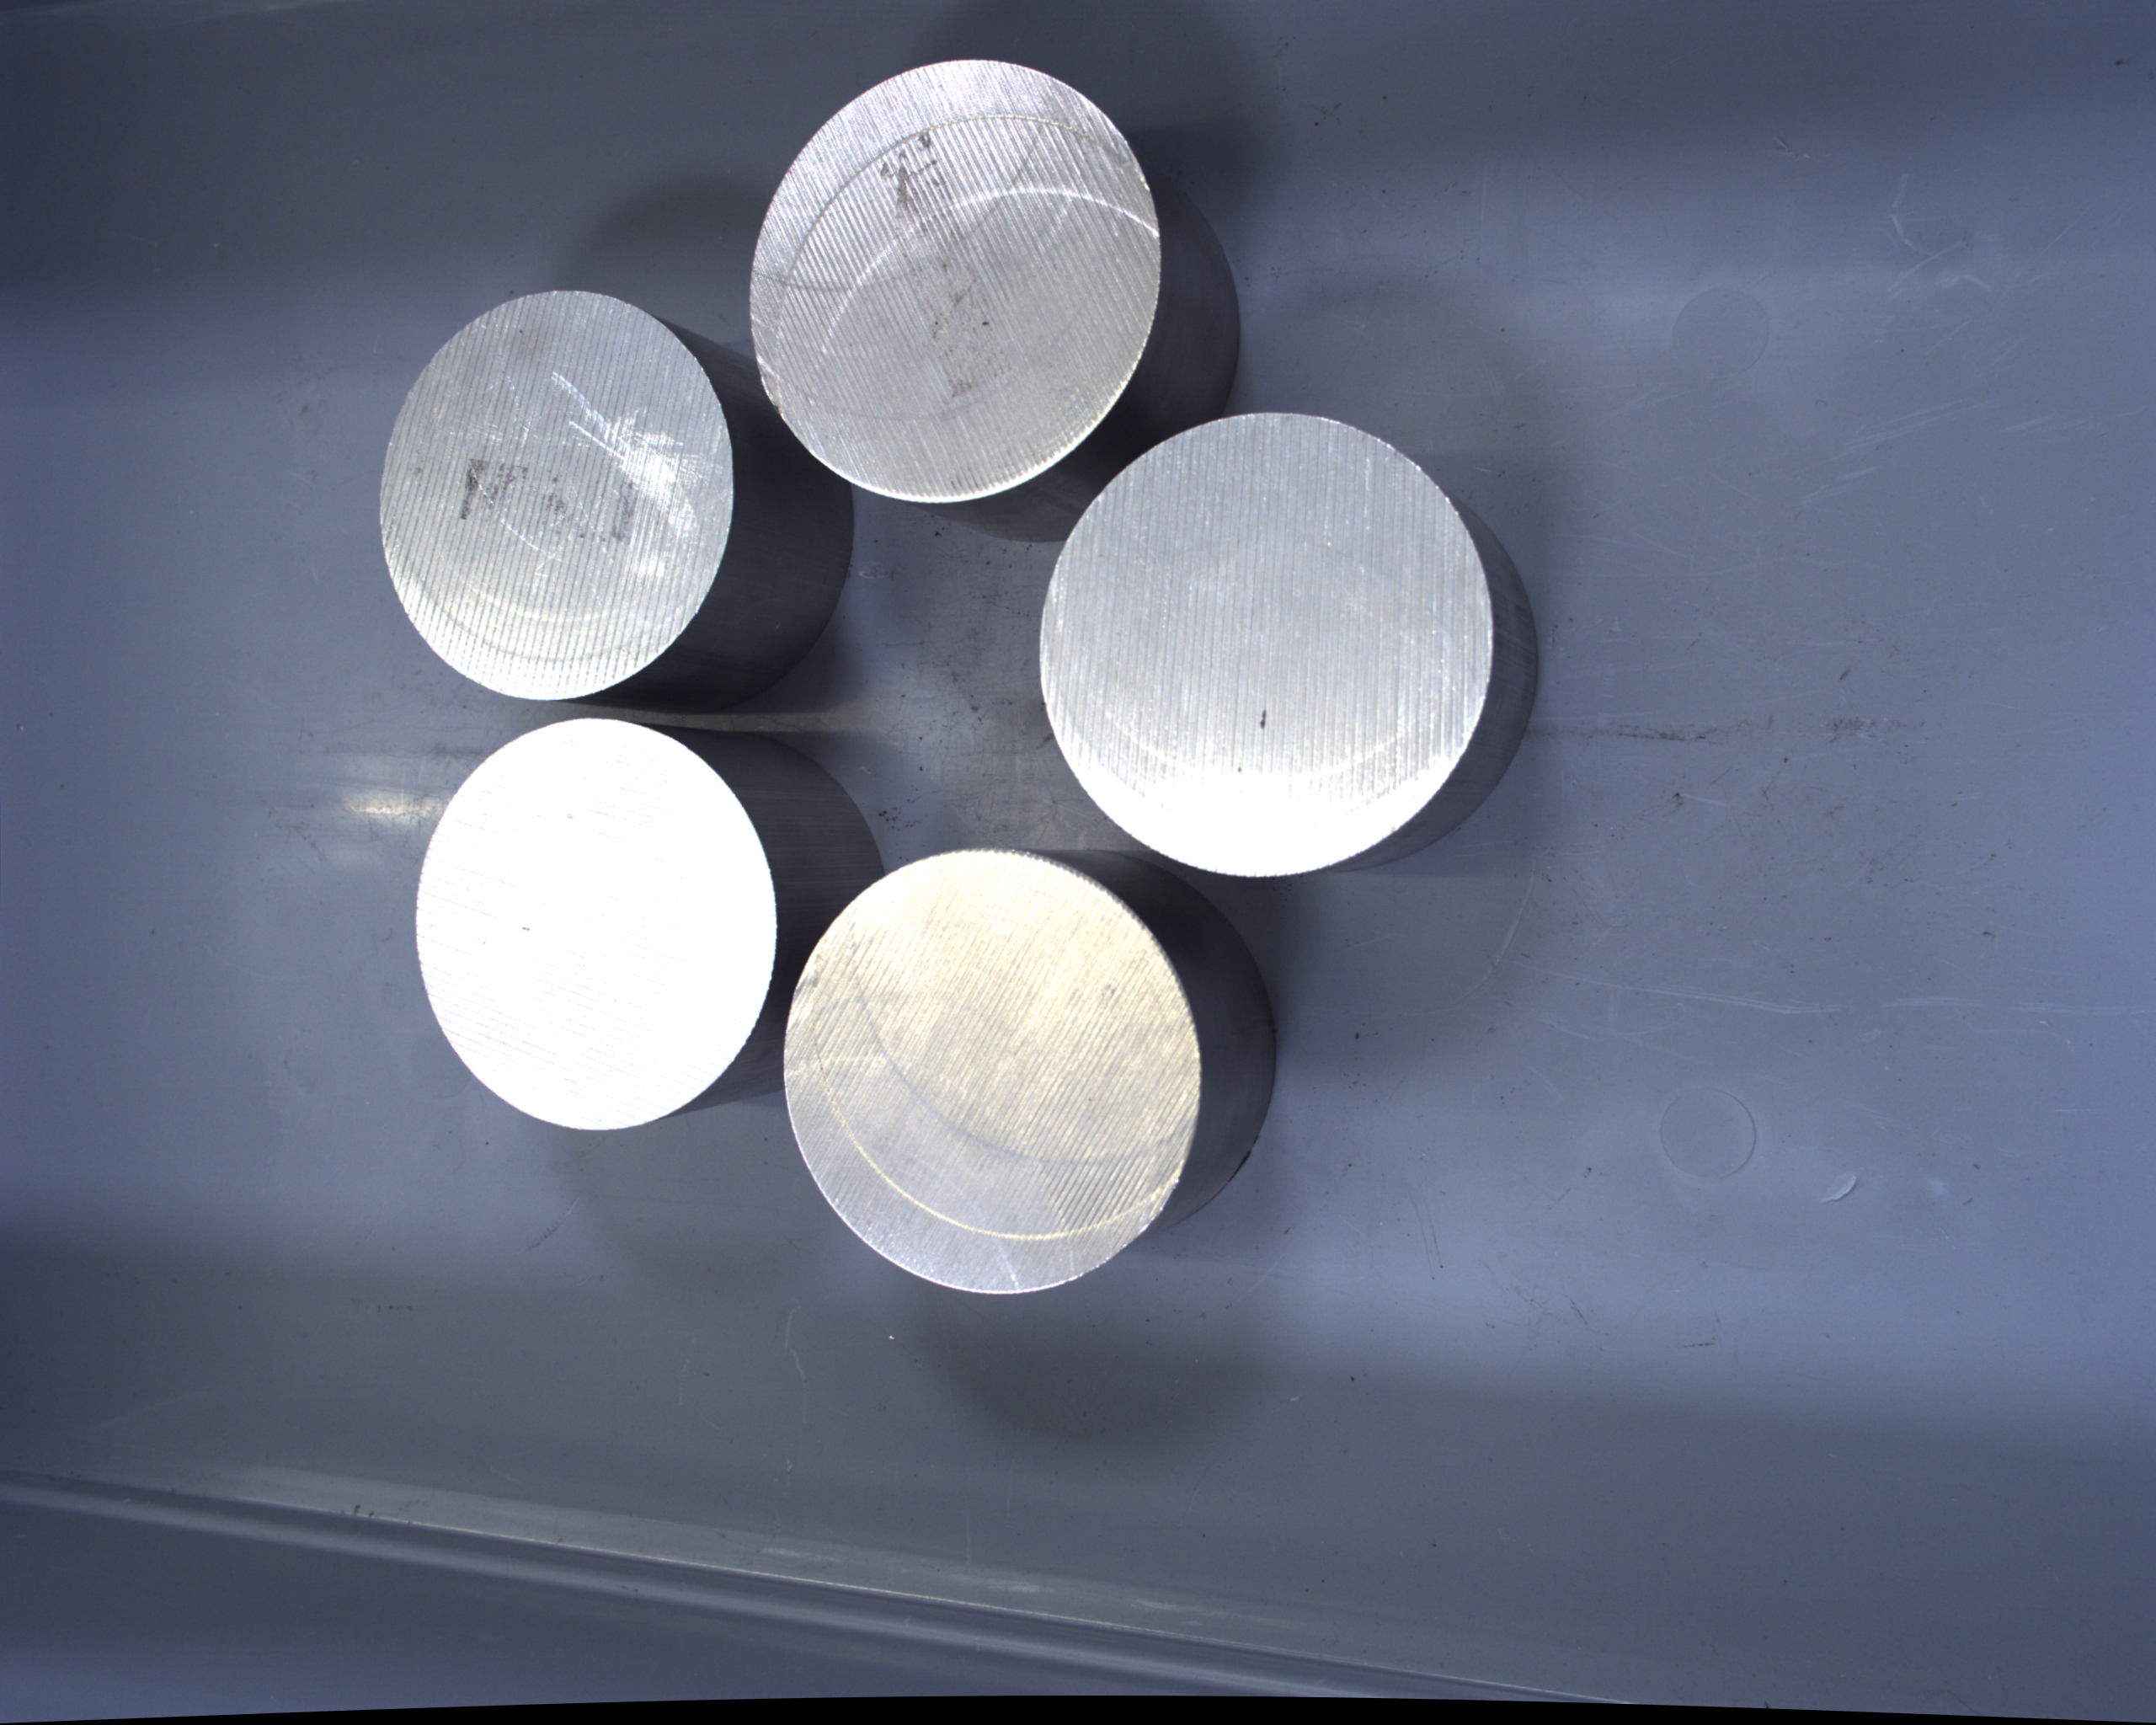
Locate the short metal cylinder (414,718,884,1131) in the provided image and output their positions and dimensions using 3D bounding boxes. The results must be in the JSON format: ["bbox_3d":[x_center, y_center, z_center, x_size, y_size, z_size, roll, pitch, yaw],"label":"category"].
[{"bbox_3d":[-0.086,0.012,0.425,0.080,0.050,0.080,0,90,20],"label":"short metal cylinder"}]

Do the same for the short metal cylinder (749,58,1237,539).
[{"bbox_3d":[-0.015,-0.105,0.400,0.080,0.050,0.080,0,90,20],"label":"short metal cylinder"}]

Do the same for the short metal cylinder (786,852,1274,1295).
[{"bbox_3d":[-0.008,0.038,0.398,0.080,0.050,0.080,0,90,20],"label":"short metal cylinder"}]

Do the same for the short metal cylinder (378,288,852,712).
[{"bbox_3d":[-0.094,-0.072,0.428,0.080,0.050,0.080,0,90,20],"label":"short metal cylinder"}]

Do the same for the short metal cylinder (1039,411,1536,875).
[{"bbox_3d":[0.040,-0.038,0.381,0.080,0.050,0.080,0,90,20],"label":"short metal cylinder"}]
